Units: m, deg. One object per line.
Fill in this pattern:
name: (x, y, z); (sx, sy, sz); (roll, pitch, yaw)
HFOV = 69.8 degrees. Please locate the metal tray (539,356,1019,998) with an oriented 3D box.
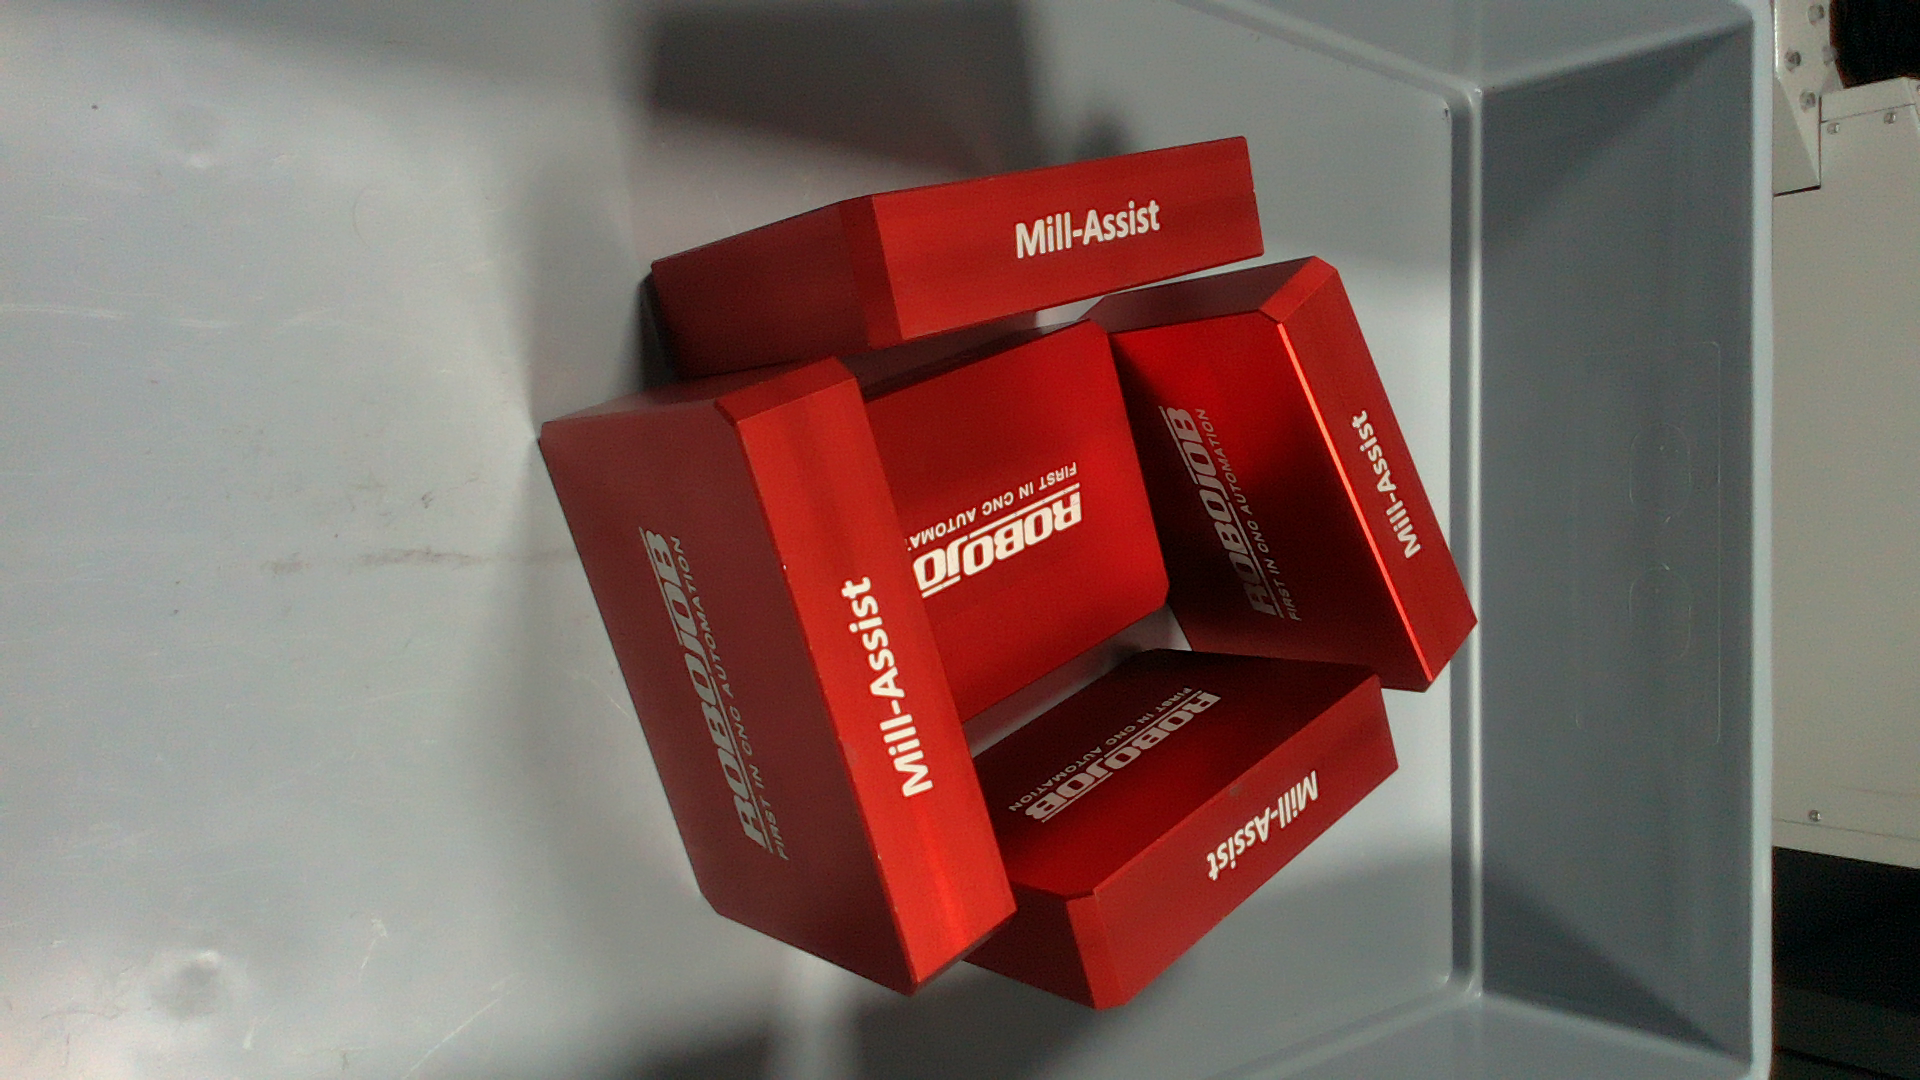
metal tray: (-0.043, 0.029, 0.309); (0.030, 0.090, 0.130); (-27, 107, -37)

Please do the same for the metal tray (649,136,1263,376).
metal tray: (0.001, -0.071, 0.346); (0.131, 0.090, 0.030); (-20, 103, -38)

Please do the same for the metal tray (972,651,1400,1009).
metal tray: (0.049, 0.072, 0.386); (0.130, 0.090, 0.030); (-26, 106, -37)

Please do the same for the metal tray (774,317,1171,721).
metal tray: (-0.003, -0.001, 0.380); (0.130, 0.030, 0.090); (-25, 106, -37)

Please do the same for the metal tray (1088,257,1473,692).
metal tray: (0.091, -0.016, 0.421); (0.030, 0.090, 0.130); (-43, 116, -30)
